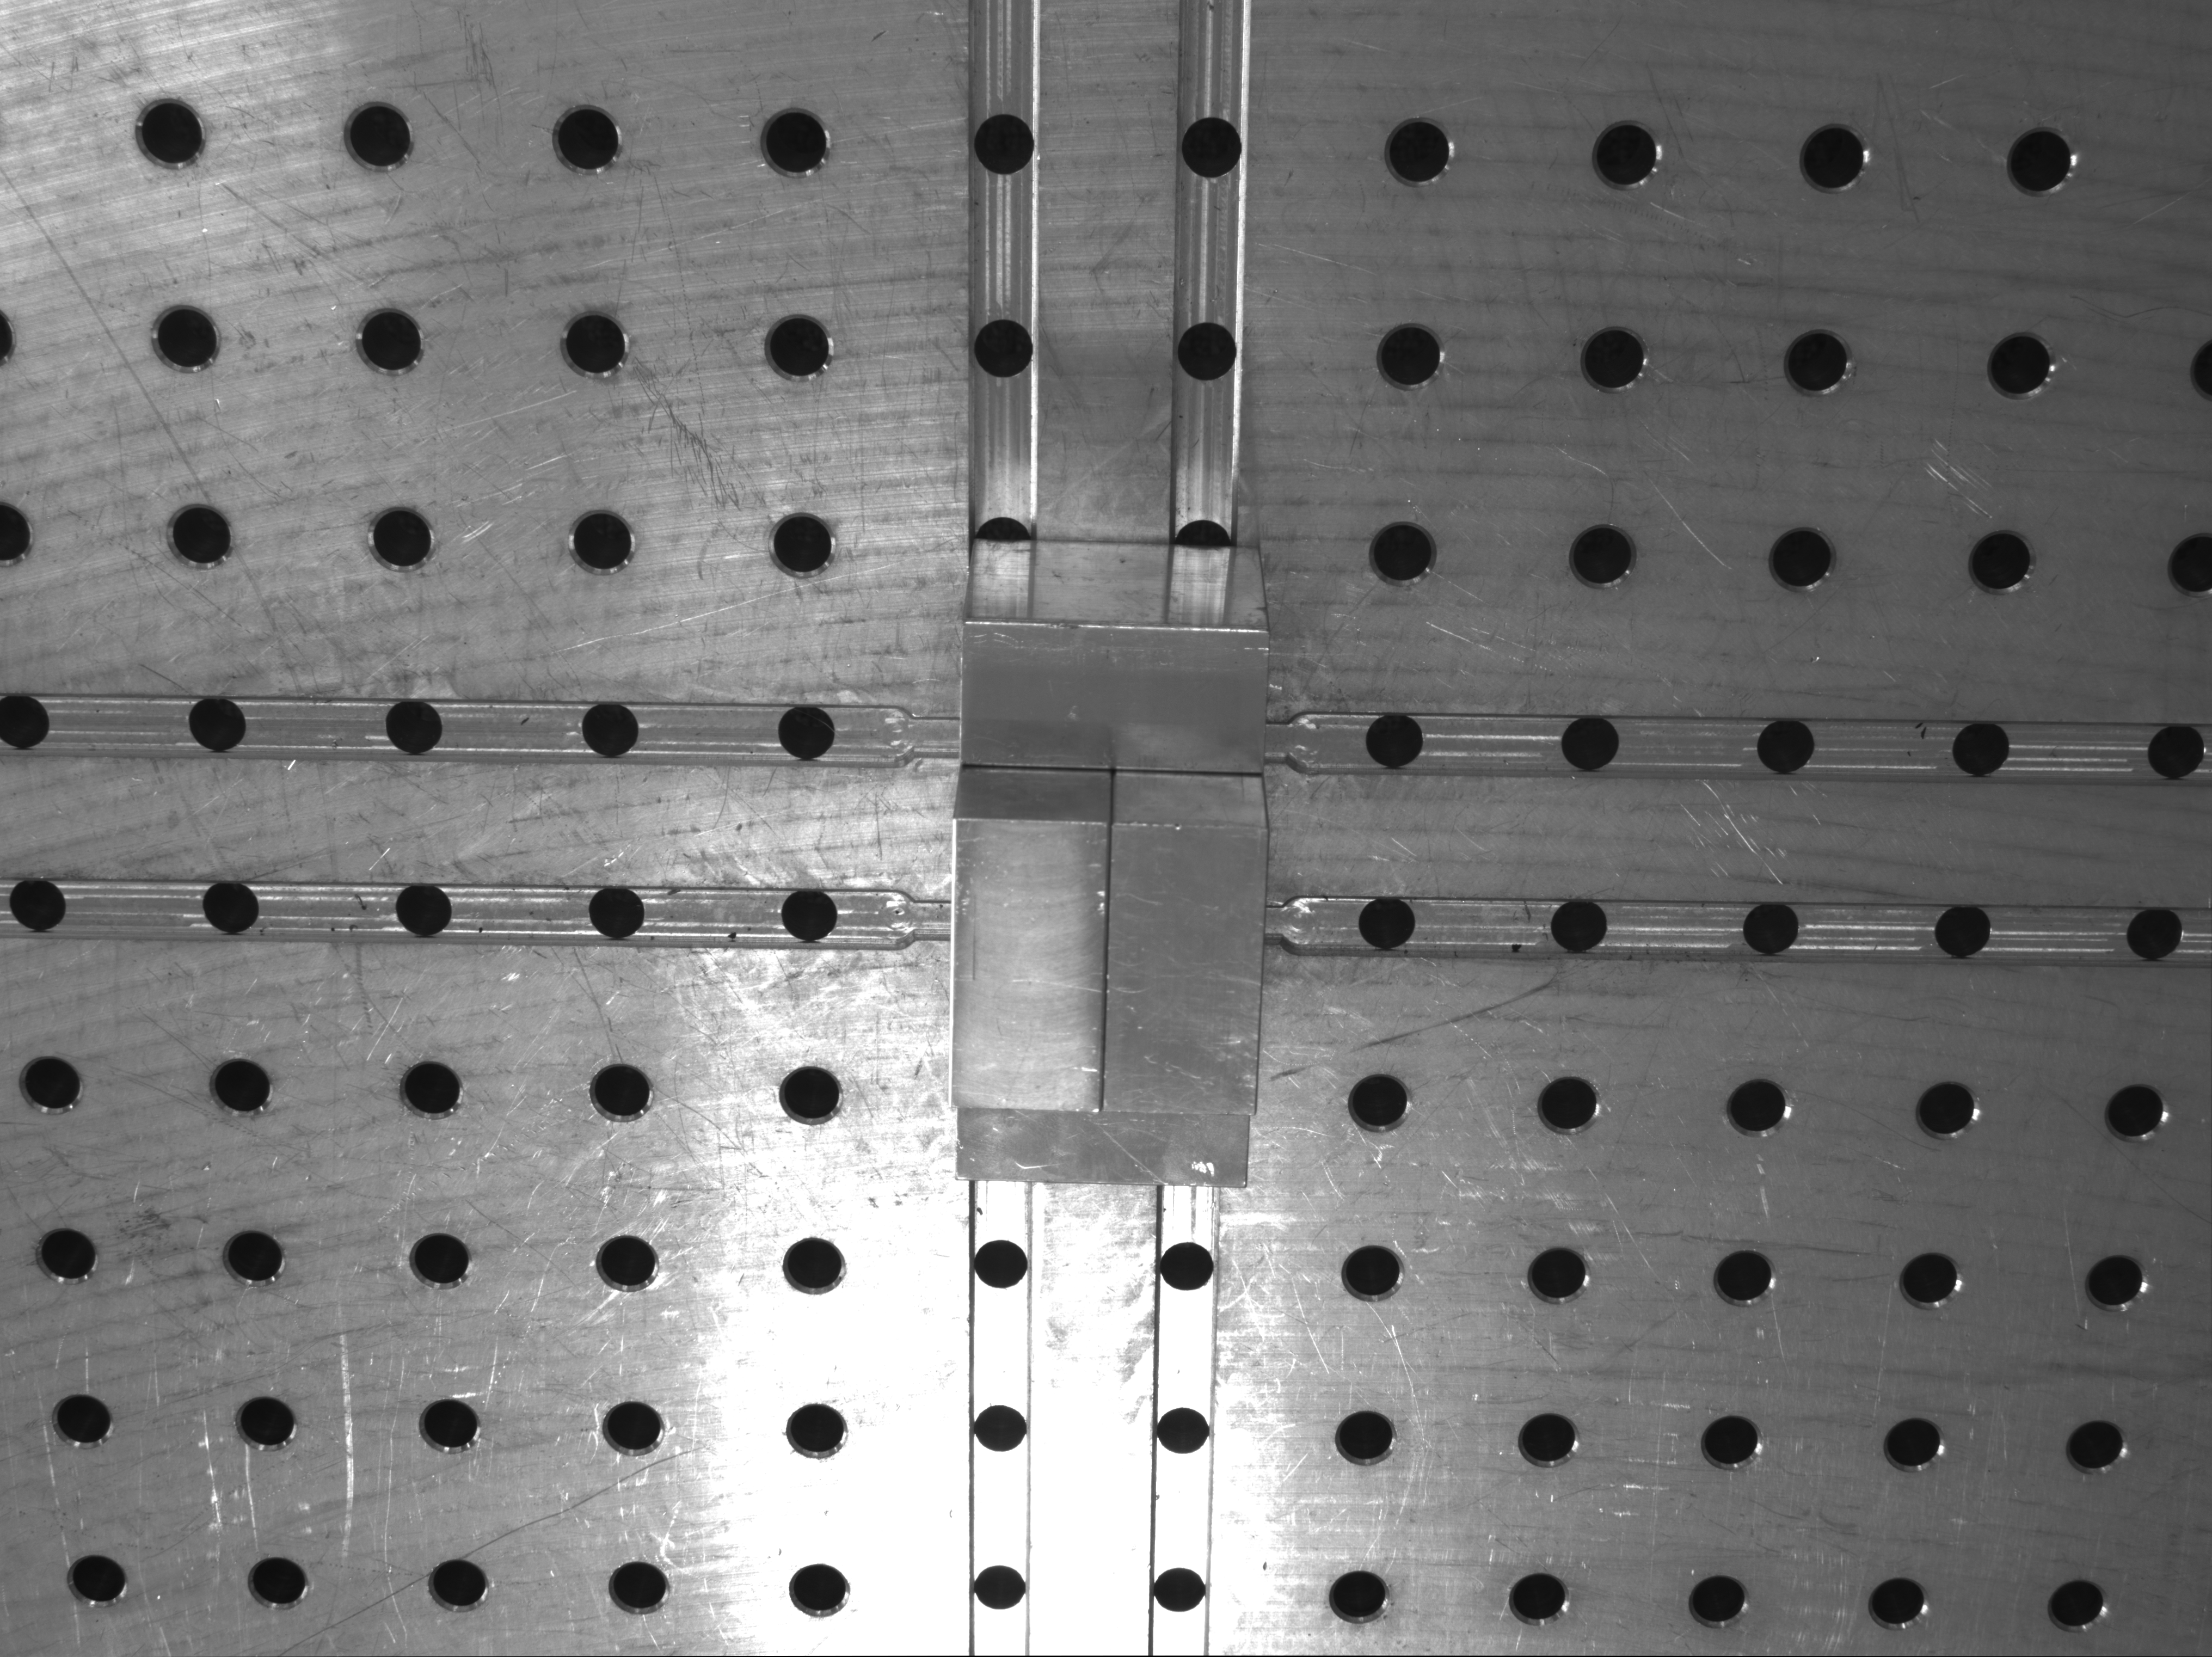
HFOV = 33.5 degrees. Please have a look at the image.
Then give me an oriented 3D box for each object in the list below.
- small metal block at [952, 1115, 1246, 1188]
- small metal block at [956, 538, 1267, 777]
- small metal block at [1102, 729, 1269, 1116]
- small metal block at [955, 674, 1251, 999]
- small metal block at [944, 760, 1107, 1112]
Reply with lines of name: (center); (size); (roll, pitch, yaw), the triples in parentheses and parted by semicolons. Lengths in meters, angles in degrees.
small metal block: (-0.001, 0.041, 0.648); (0.050, 0.050, 0.025); (2, 110, 0)
small metal block: (0.001, -0.030, 0.622); (0.050, 0.050, 0.025); (2, 110, -1)
small metal block: (0.013, 0.014, 0.612); (0.025, 0.050, 0.050); (2, 110, 1)
small metal block: (-0.001, 0.001, 0.647); (0.050, 0.025, 0.050); (2, 110, 1)
small metal block: (-0.013, 0.014, 0.611); (0.025, 0.050, 0.050); (2, 110, -1)
